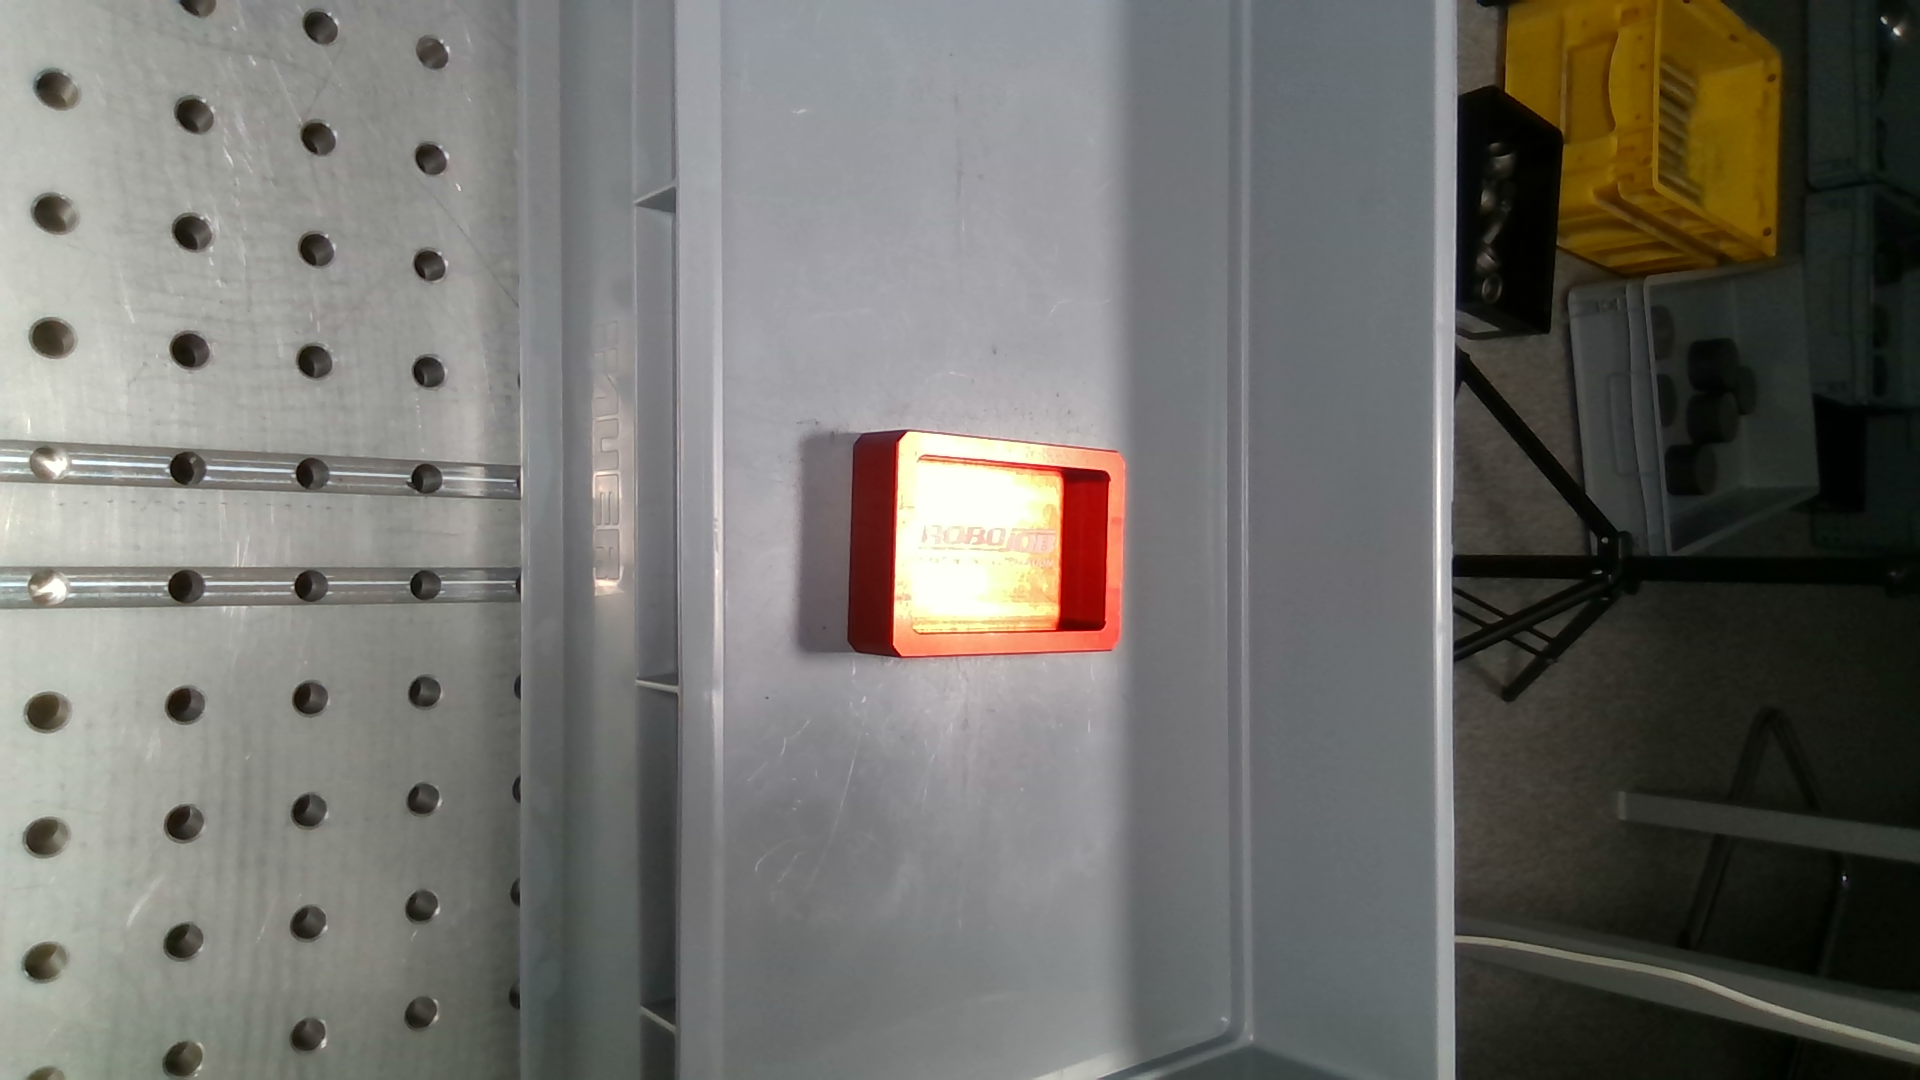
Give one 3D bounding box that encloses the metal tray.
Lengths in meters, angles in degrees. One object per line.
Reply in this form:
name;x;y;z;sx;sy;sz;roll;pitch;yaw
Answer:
metal tray;0.014;0.003;0.588;0.130;0.030;0.090;2;89;-40
